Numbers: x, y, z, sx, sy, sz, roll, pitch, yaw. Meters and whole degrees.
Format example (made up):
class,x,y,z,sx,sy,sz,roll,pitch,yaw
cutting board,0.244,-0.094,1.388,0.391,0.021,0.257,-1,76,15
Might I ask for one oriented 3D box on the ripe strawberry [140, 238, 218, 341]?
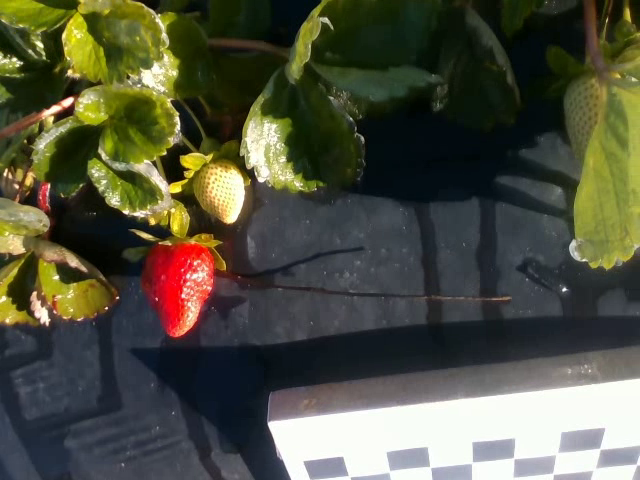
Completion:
class,x,y,z,sx,sy,sz,roll,pitch,yaw
ripe strawberry,-0.054,0.022,0.253,0.039,0.039,0.040,-8,-22,21
